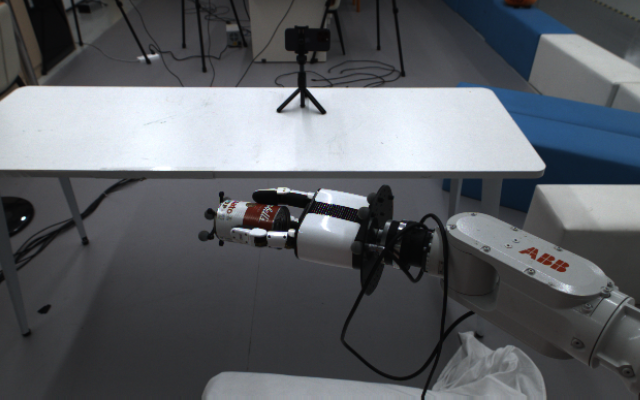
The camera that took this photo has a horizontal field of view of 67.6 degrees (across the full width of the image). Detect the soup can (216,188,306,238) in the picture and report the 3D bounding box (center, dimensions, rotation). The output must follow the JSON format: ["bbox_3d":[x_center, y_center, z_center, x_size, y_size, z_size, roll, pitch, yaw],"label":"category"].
[{"bbox_3d":[-0.103,0.039,0.754,0.101,0.067,0.067,7,34,18],"label":"soup can"}]
